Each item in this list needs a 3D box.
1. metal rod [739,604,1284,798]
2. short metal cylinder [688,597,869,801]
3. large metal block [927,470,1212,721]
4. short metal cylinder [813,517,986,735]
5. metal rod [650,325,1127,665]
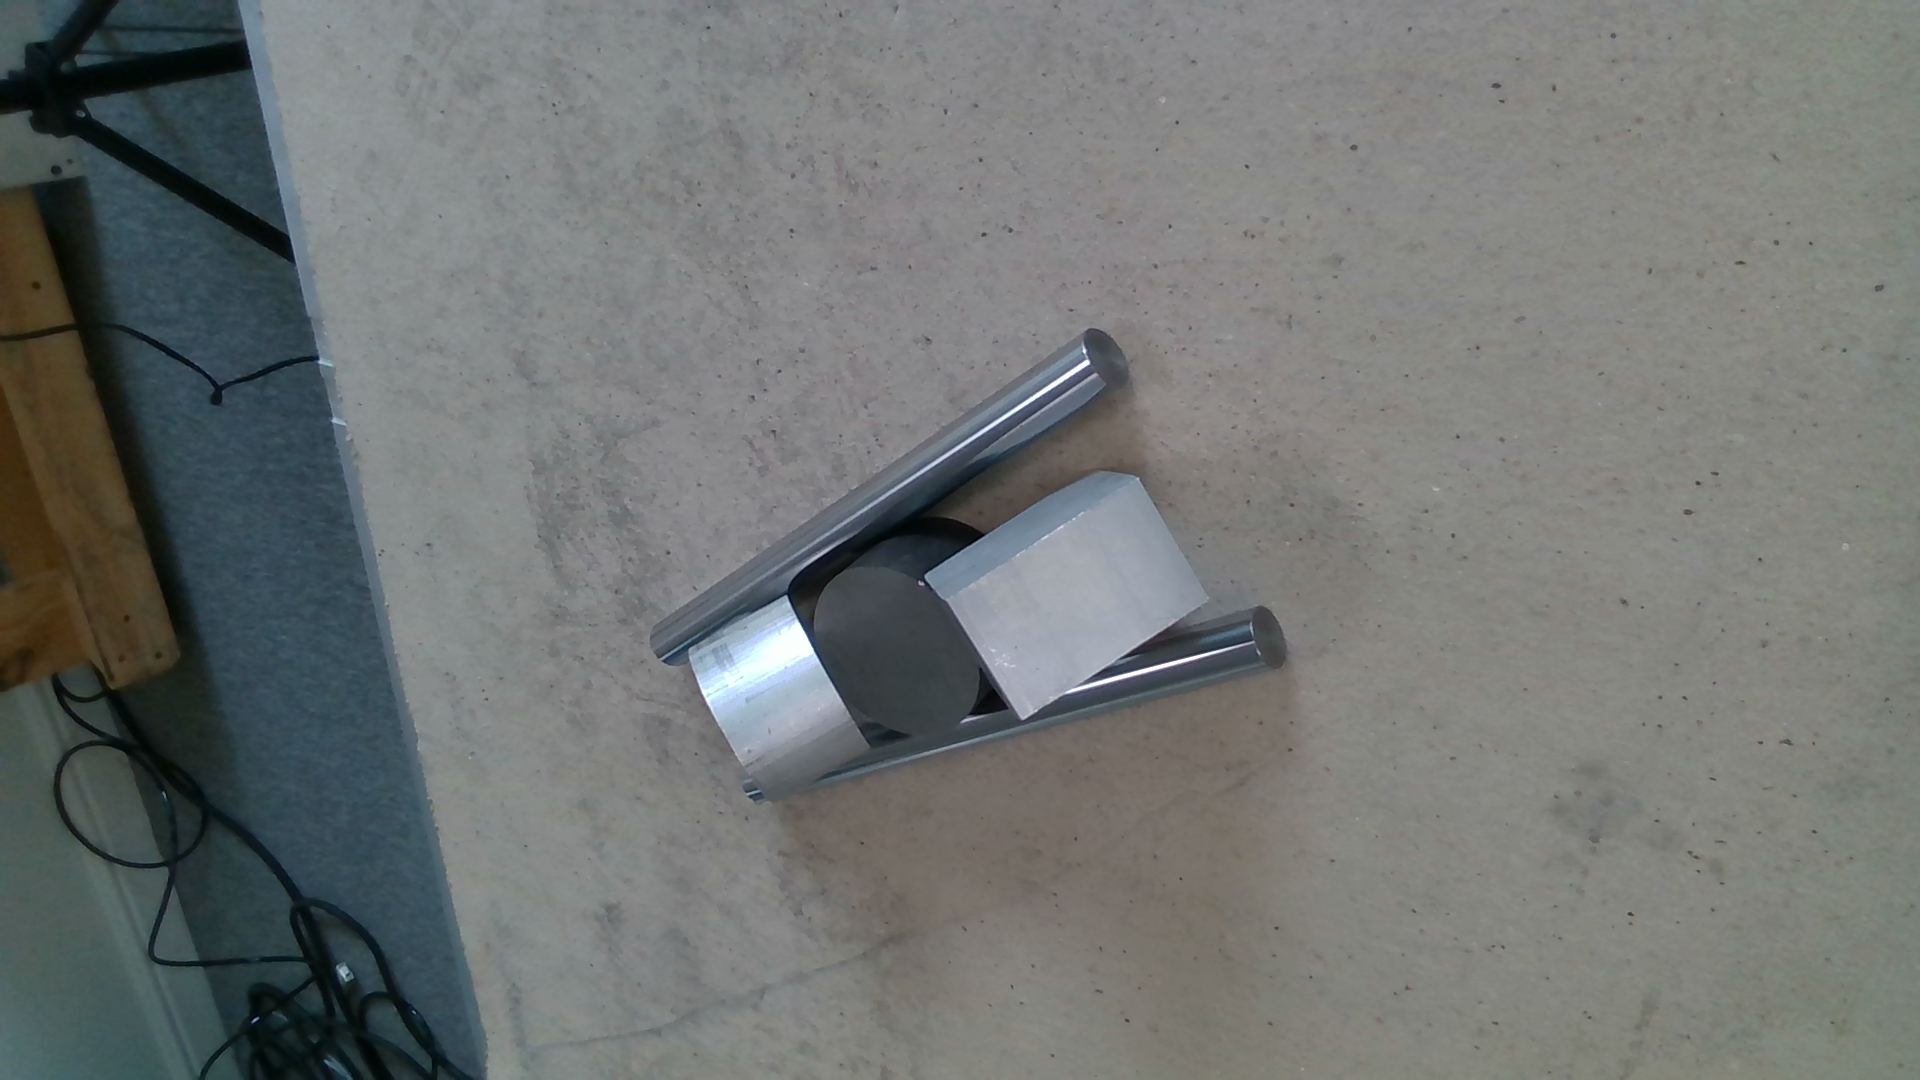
[{"bbox_3d":[0.007,0.079,0.619,0.300,0.025,0.025,-21,103,38],"label":"metal rod"},{"bbox_3d":[-0.081,0.071,0.626,0.050,0.080,0.080,-29,101,-4],"label":"short metal cylinder"},{"bbox_3d":[0.036,0.017,0.512,0.080,0.080,0.050,-33,98,-3],"label":"large metal block"},{"bbox_3d":[-0.016,0.037,0.594,0.080,0.050,0.080,14,122,25],"label":"short metal cylinder"},{"bbox_3d":[-0.047,-0.008,0.604,0.300,0.025,0.025,-31,97,39],"label":"metal rod"}]
